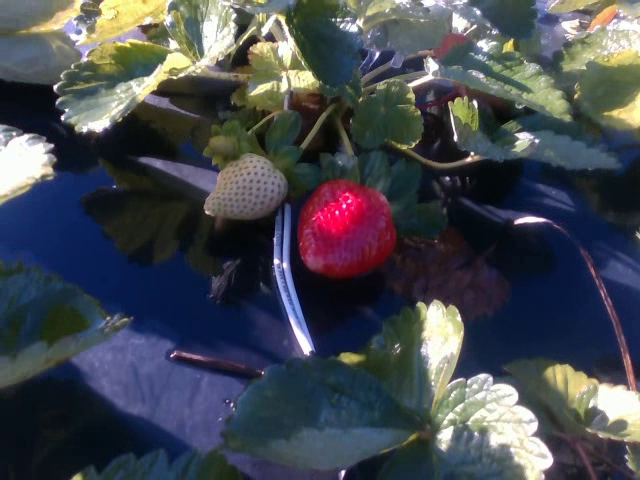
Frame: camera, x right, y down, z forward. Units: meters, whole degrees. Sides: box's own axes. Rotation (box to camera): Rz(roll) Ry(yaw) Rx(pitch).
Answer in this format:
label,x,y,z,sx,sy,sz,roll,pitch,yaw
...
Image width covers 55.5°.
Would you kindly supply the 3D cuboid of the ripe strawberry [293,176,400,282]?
label,x,y,z,sx,sy,sz,roll,pitch,yaw
ripe strawberry,0.016,-0.007,0.289,0.040,0.063,0.080,-36,4,36
